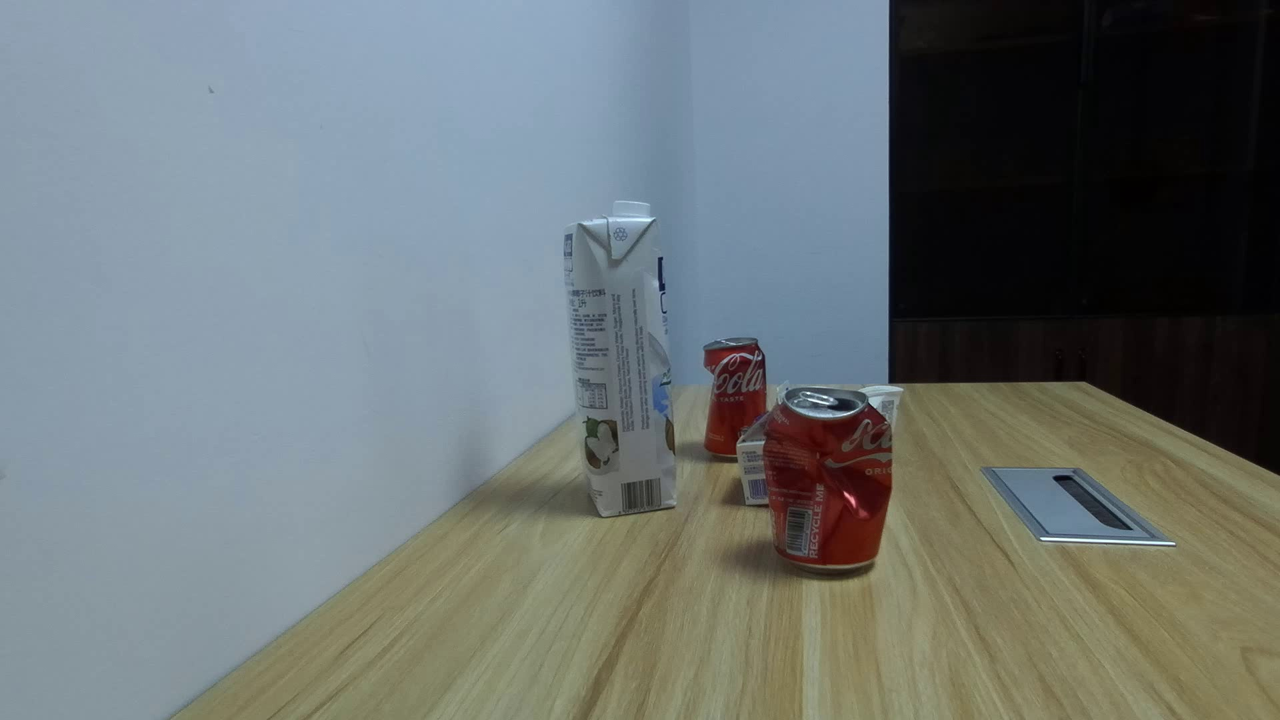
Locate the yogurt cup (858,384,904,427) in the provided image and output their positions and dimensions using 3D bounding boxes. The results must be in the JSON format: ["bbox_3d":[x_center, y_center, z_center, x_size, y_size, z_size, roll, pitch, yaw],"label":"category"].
[{"bbox_3d":[0.206,0.060,0.669,0.076,0.071,0.053,-9,17,-30],"label":"yogurt cup"}]

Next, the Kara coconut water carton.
[{"bbox_3d":[-0.014,-0.002,0.570,0.075,0.245,0.077,-6,10,-11],"label":"Kara coconut water carton"}]

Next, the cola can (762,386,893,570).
[{"bbox_3d":[0.117,0.075,0.453,0.066,0.112,0.069,-12,14,-37],"label":"cola can"}]

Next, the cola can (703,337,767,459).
[{"bbox_3d":[0.096,0.036,0.710,0.065,0.117,0.072,0,12,13],"label":"cola can"}]
